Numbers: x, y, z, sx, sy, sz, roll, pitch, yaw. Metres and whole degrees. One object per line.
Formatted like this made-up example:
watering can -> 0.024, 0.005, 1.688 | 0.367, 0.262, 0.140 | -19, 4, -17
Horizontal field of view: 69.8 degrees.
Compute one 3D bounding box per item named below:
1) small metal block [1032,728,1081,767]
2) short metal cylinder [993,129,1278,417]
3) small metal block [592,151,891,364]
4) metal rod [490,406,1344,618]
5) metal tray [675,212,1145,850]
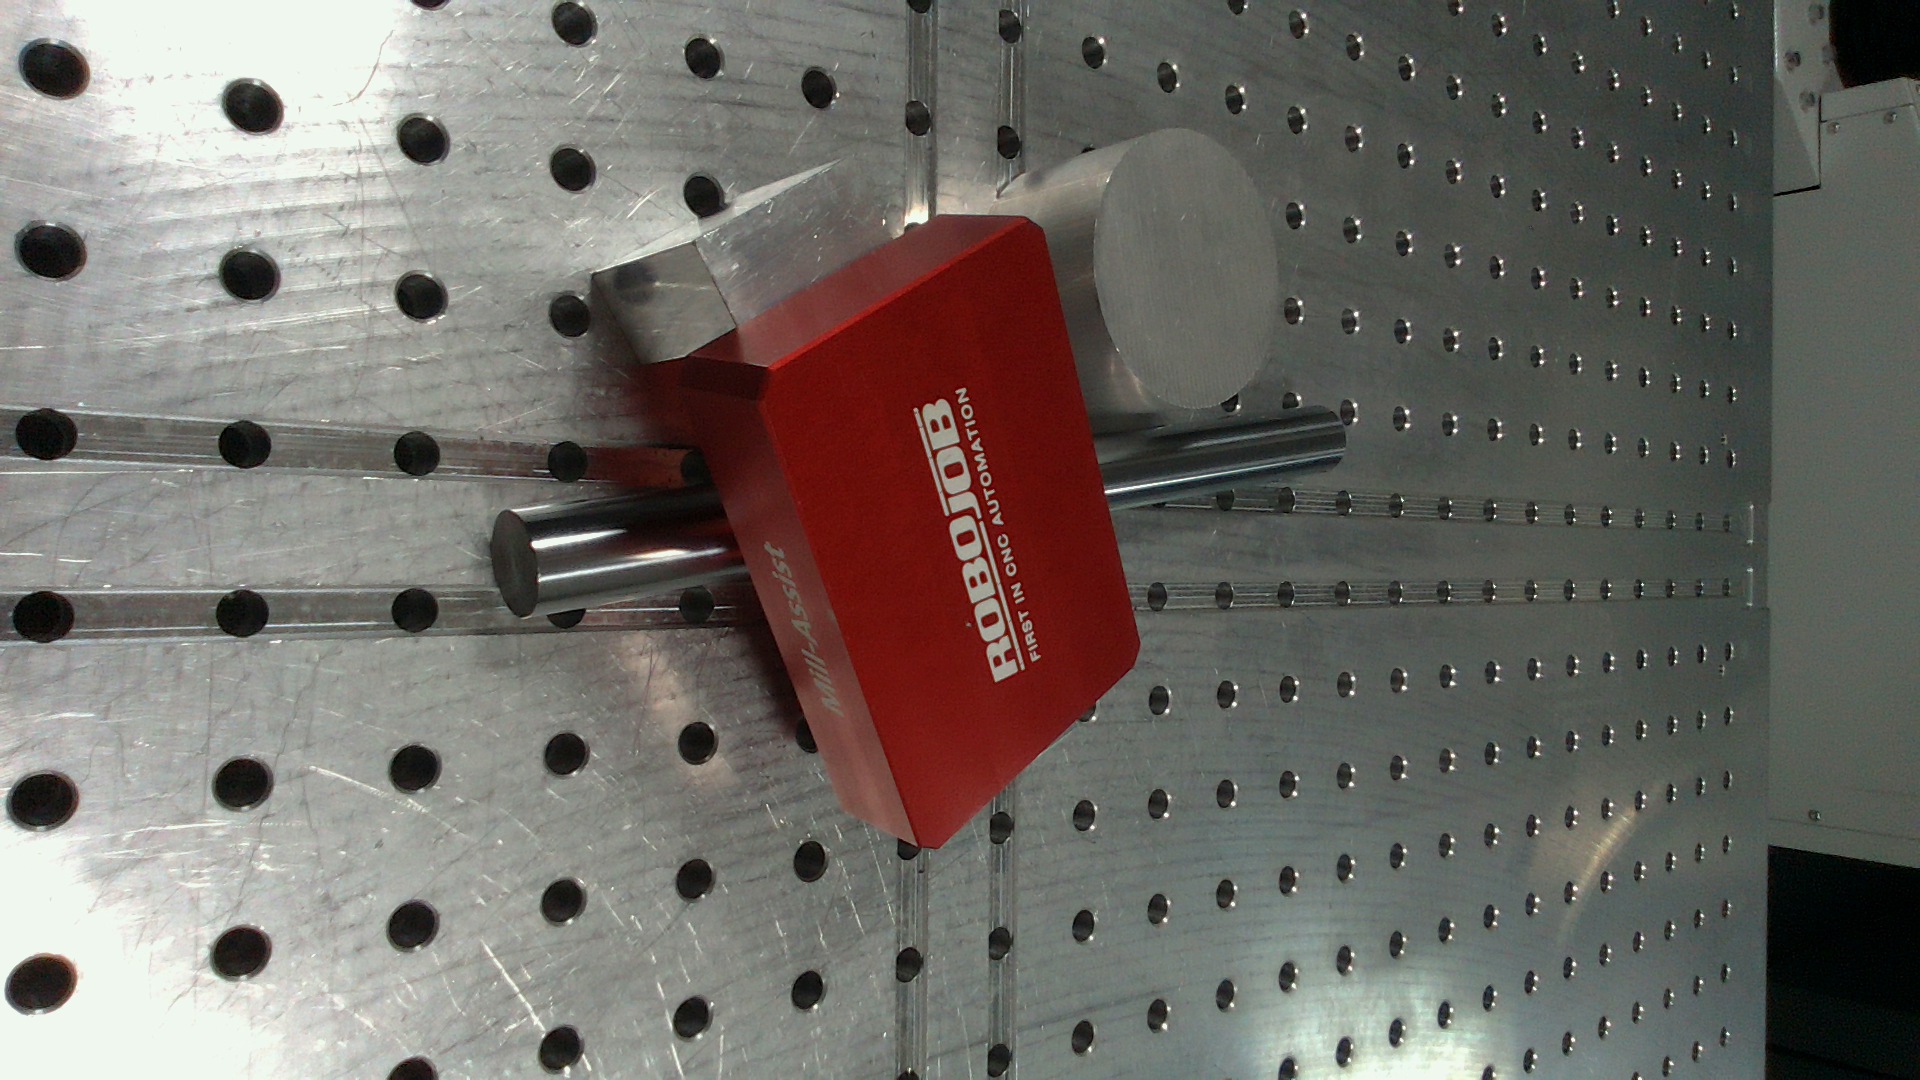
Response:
small metal block -> 0.002, 0.043, 0.392 | 0.050, 0.025, 0.050 | -29, 108, -36
short metal cylinder -> 0.051, -0.078, 0.418 | 0.080, 0.050, 0.080 | 0, 90, -40
small metal block -> -0.052, -0.067, 0.332 | 0.050, 0.050, 0.025 | -39, 114, -33
metal rod -> 0.014, -0.016, 0.404 | 0.301, 0.025, 0.025 | -10, 97, -39
metal tray -> -0.005, -0.003, 0.334 | 0.090, 0.030, 0.130 | -37, 124, -33
